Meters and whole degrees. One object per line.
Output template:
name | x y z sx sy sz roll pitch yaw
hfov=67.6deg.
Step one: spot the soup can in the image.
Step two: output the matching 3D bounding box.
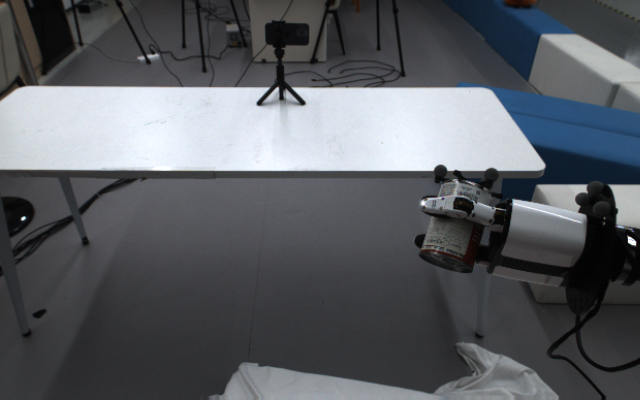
soup can | 0.173 0.030 0.614 0.067 0.067 0.101 16 74 19
